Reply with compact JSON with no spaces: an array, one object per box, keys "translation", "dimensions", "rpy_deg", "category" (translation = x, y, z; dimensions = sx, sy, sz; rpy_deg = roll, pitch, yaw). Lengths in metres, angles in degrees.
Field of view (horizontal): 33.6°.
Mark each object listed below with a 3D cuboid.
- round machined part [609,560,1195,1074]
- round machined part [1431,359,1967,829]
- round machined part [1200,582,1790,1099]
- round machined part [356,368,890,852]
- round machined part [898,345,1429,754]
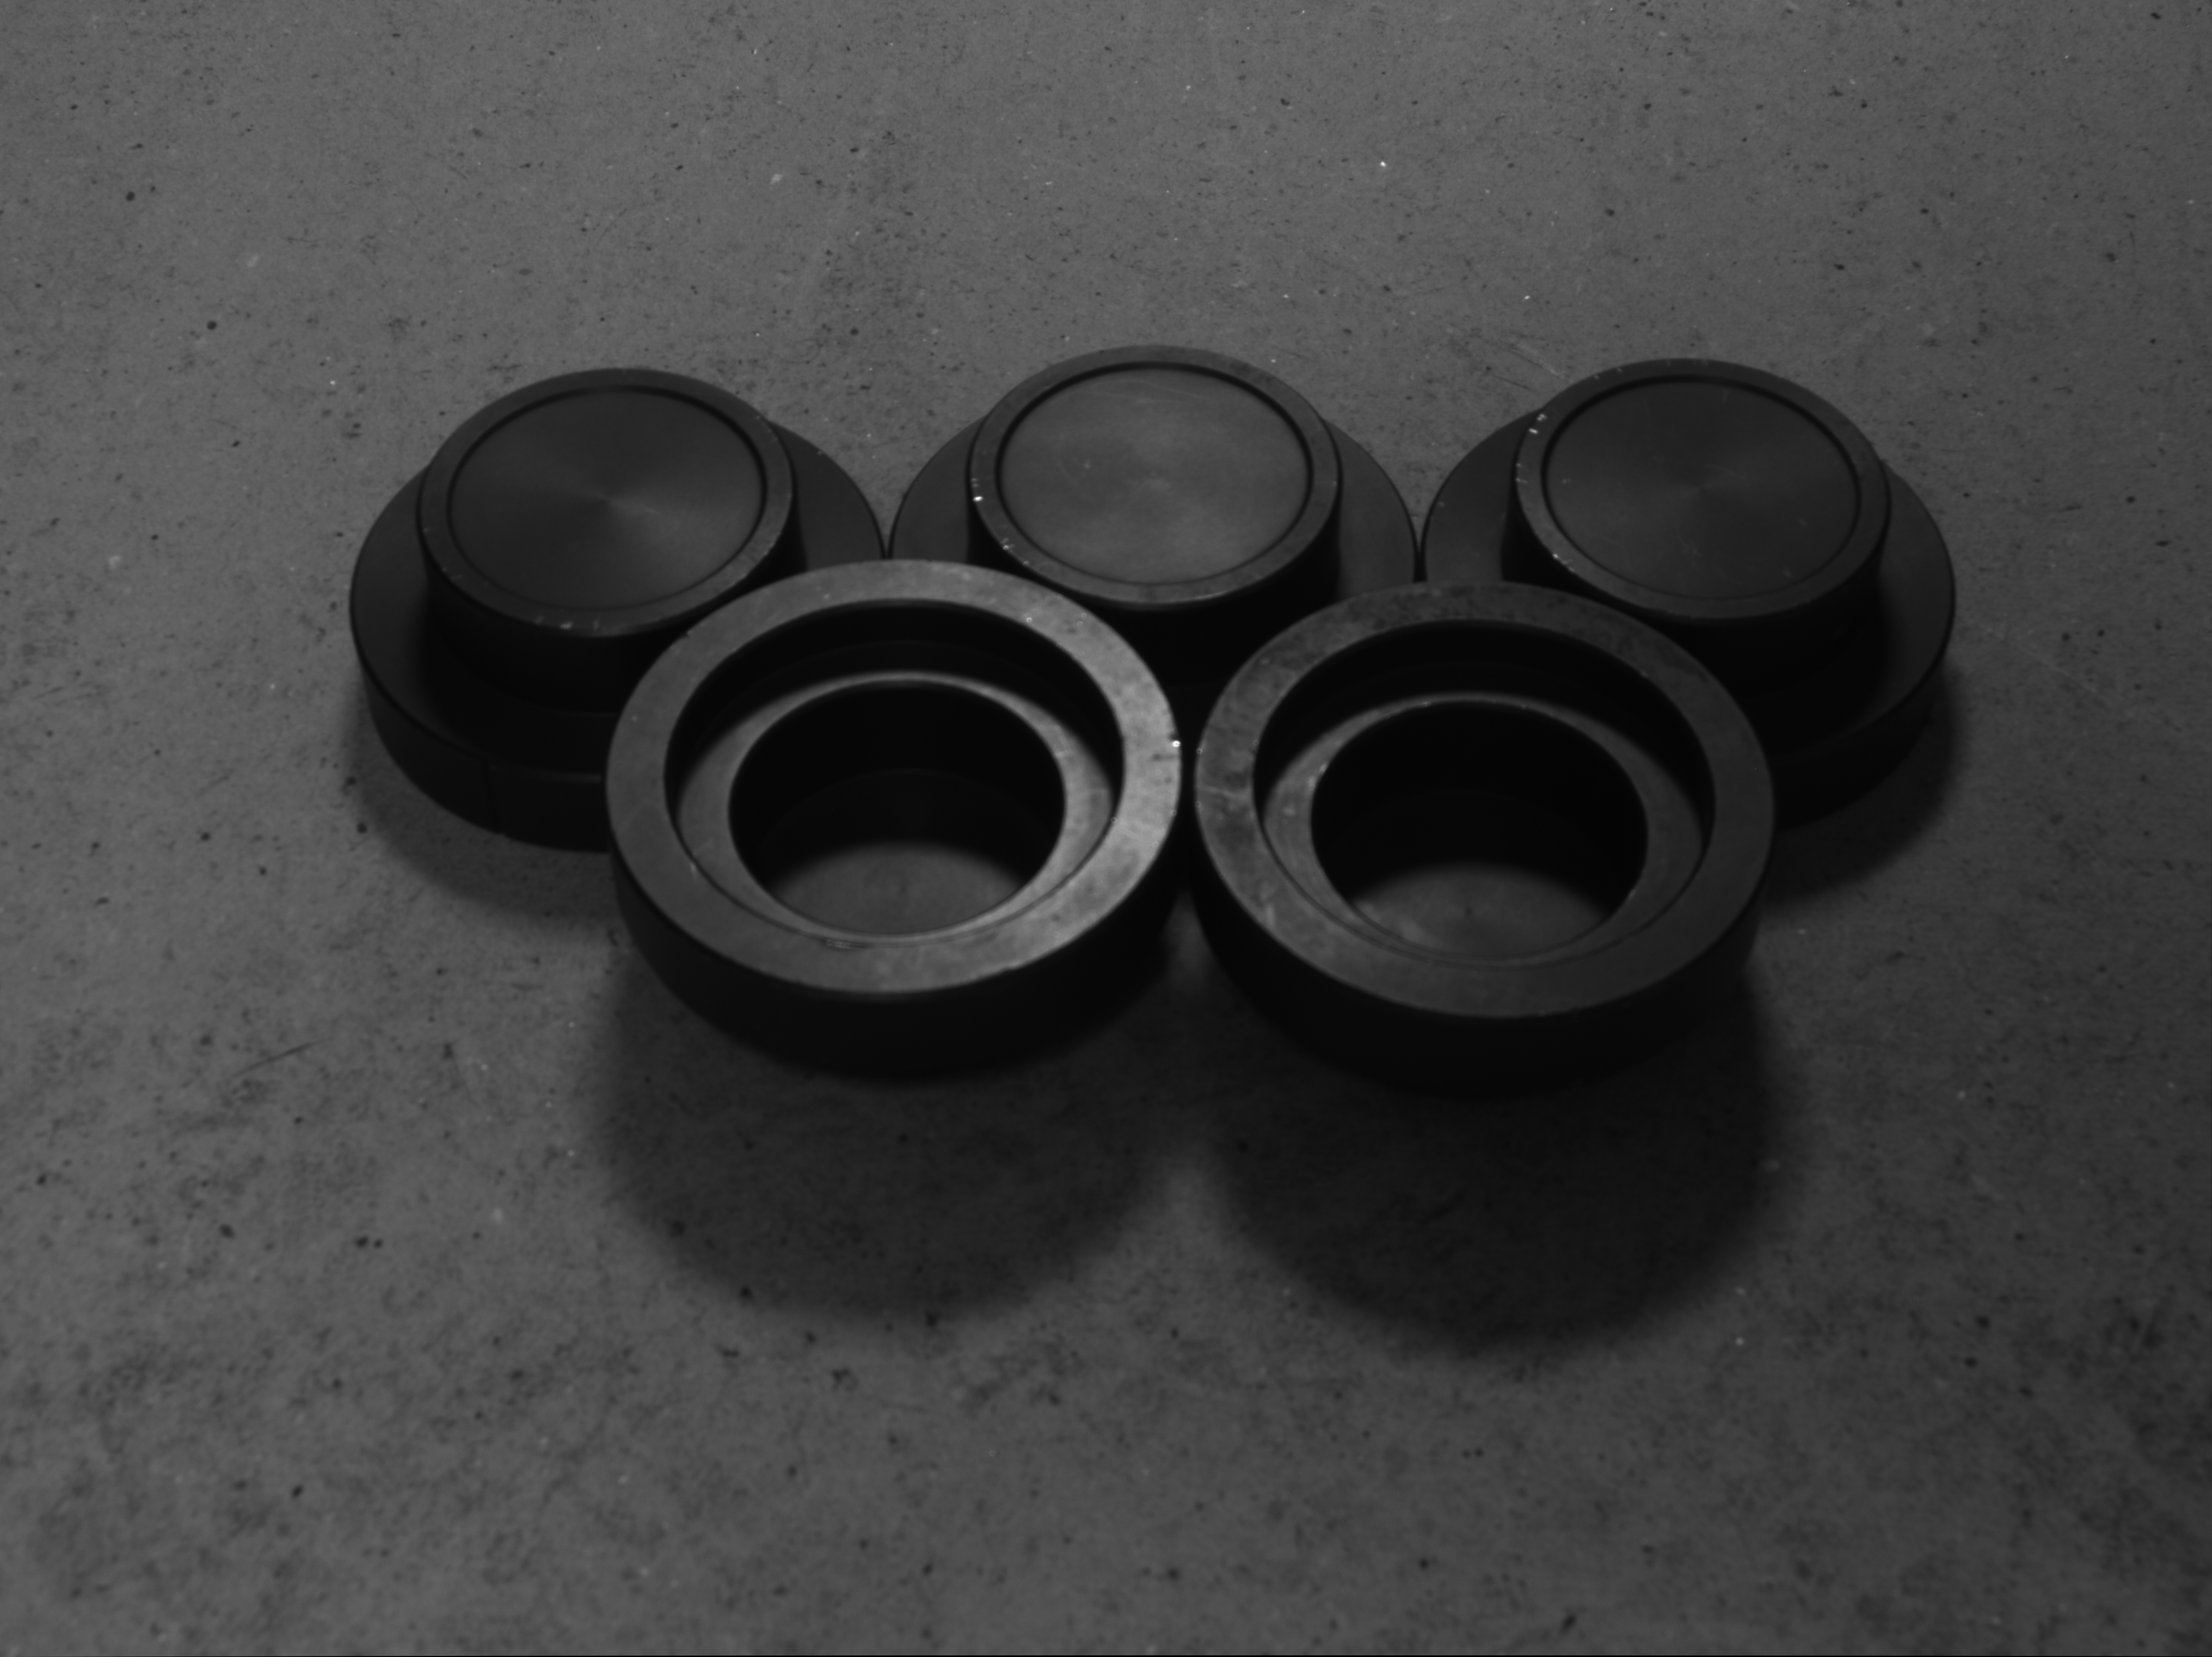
[{"translation":[-0.034,0.003,0.628],"dimensions":[0.098,0.042,0.098],"rpy_deg":[0,50,0],"category":"round machined part"},{"translation":[0.109,-0.048,0.672],"dimensions":[0.098,0.042,0.098],"rpy_deg":[0,50,0],"category":"round machined part"},{"translation":[0.065,0.007,0.625],"dimensions":[0.098,0.042,0.098],"rpy_deg":[0,50,0],"category":"round machined part"},{"translation":[-0.088,-0.046,0.670],"dimensions":[0.098,0.042,0.098],"rpy_deg":[0,50,0],"category":"round machined part"},{"translation":[0.010,-0.051,0.674],"dimensions":[0.098,0.042,0.098],"rpy_deg":[0,50,0],"category":"round machined part"}]
